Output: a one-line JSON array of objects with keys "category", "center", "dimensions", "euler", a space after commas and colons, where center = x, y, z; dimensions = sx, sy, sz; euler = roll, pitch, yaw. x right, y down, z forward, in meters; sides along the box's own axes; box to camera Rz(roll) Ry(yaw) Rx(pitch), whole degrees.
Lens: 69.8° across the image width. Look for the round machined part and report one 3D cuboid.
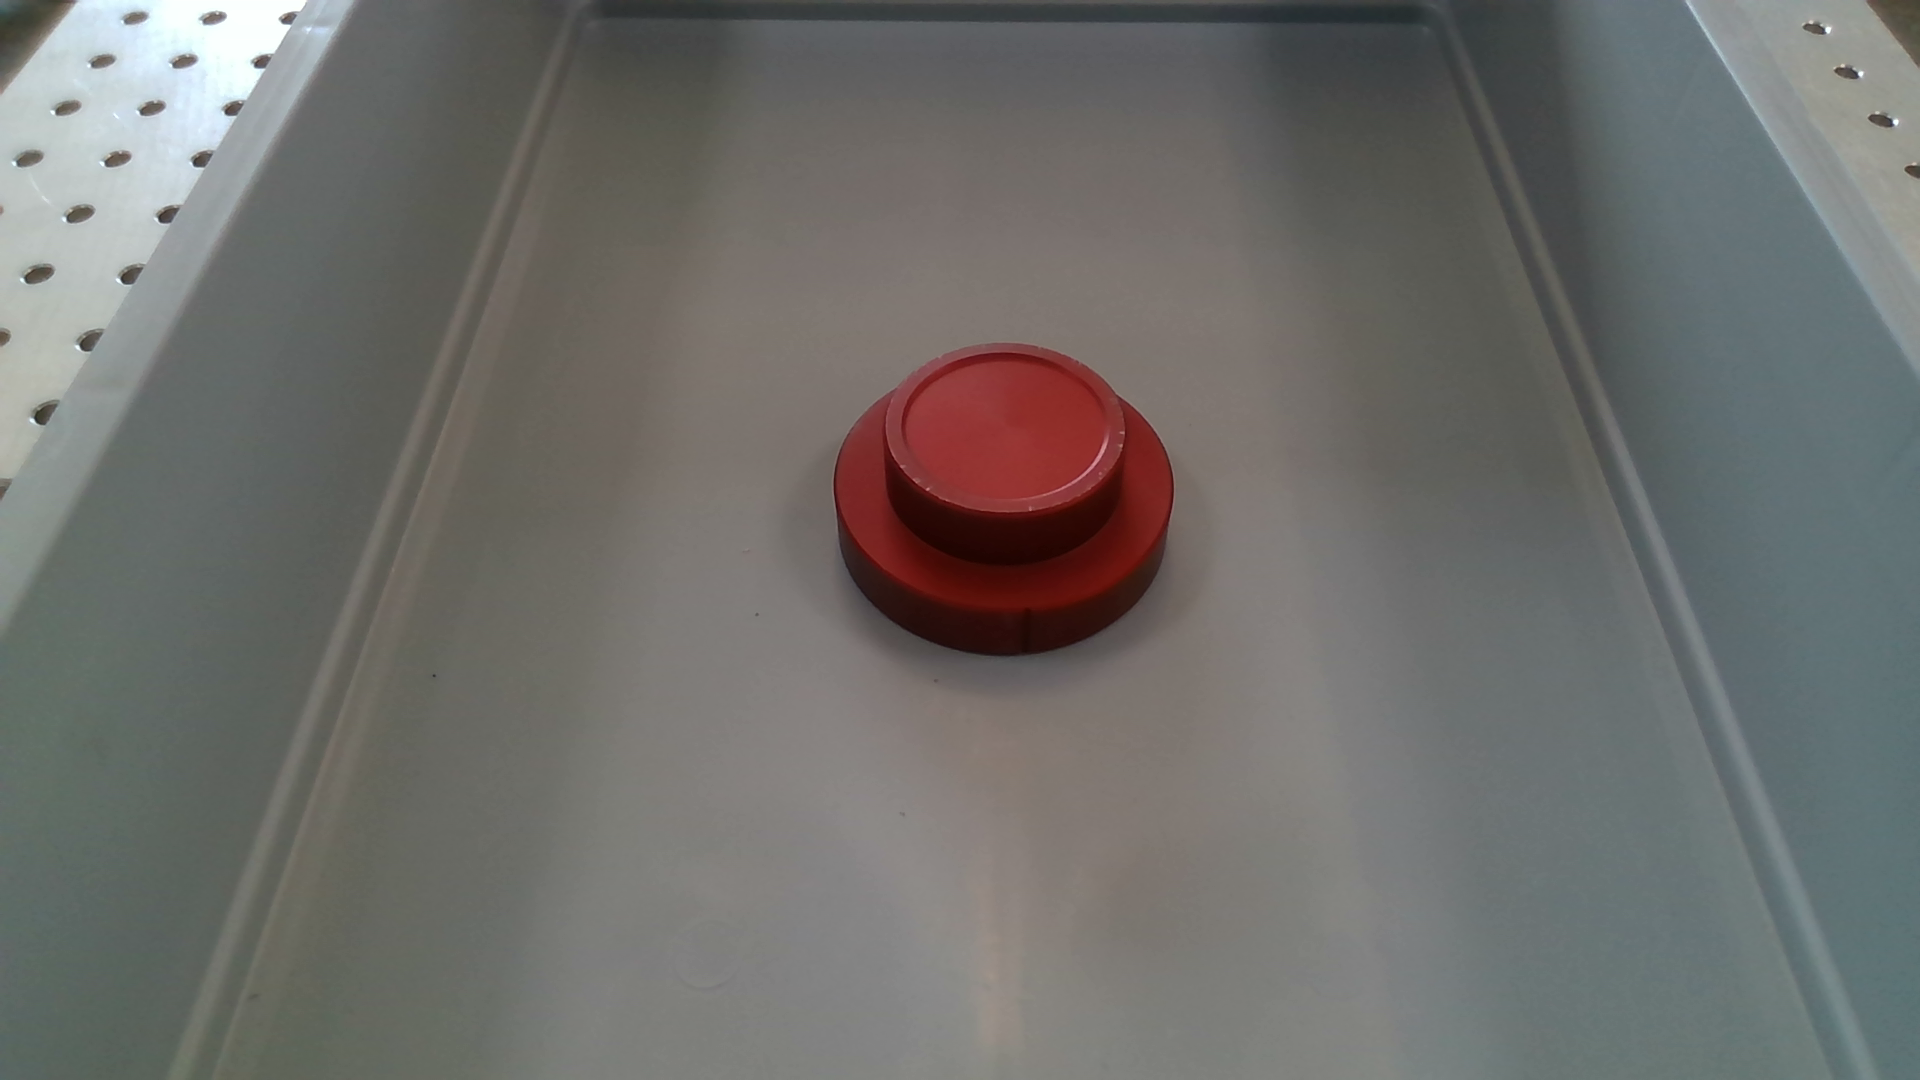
[{"category": "round machined part", "center": [0.012, -0.019, 0.395], "dimensions": [0.098, 0.042, 0.098], "euler": [0, 50, 0]}]
